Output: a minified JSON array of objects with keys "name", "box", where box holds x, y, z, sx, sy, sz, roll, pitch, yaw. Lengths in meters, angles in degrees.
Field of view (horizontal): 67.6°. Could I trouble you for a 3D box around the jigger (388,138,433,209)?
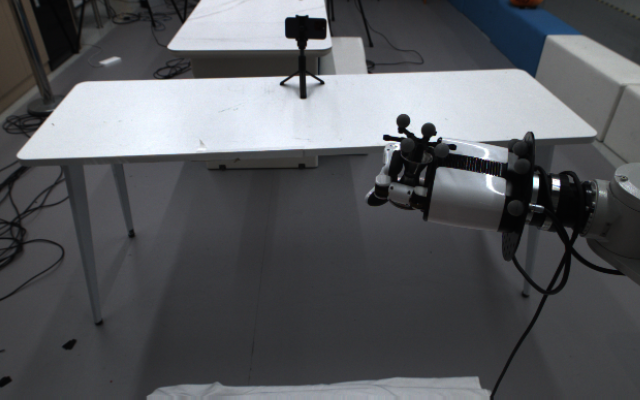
[{"name":"jigger","box":[0.116,-0.027,0.617,0.043,0.071,0.043,7,32,-4]}]
